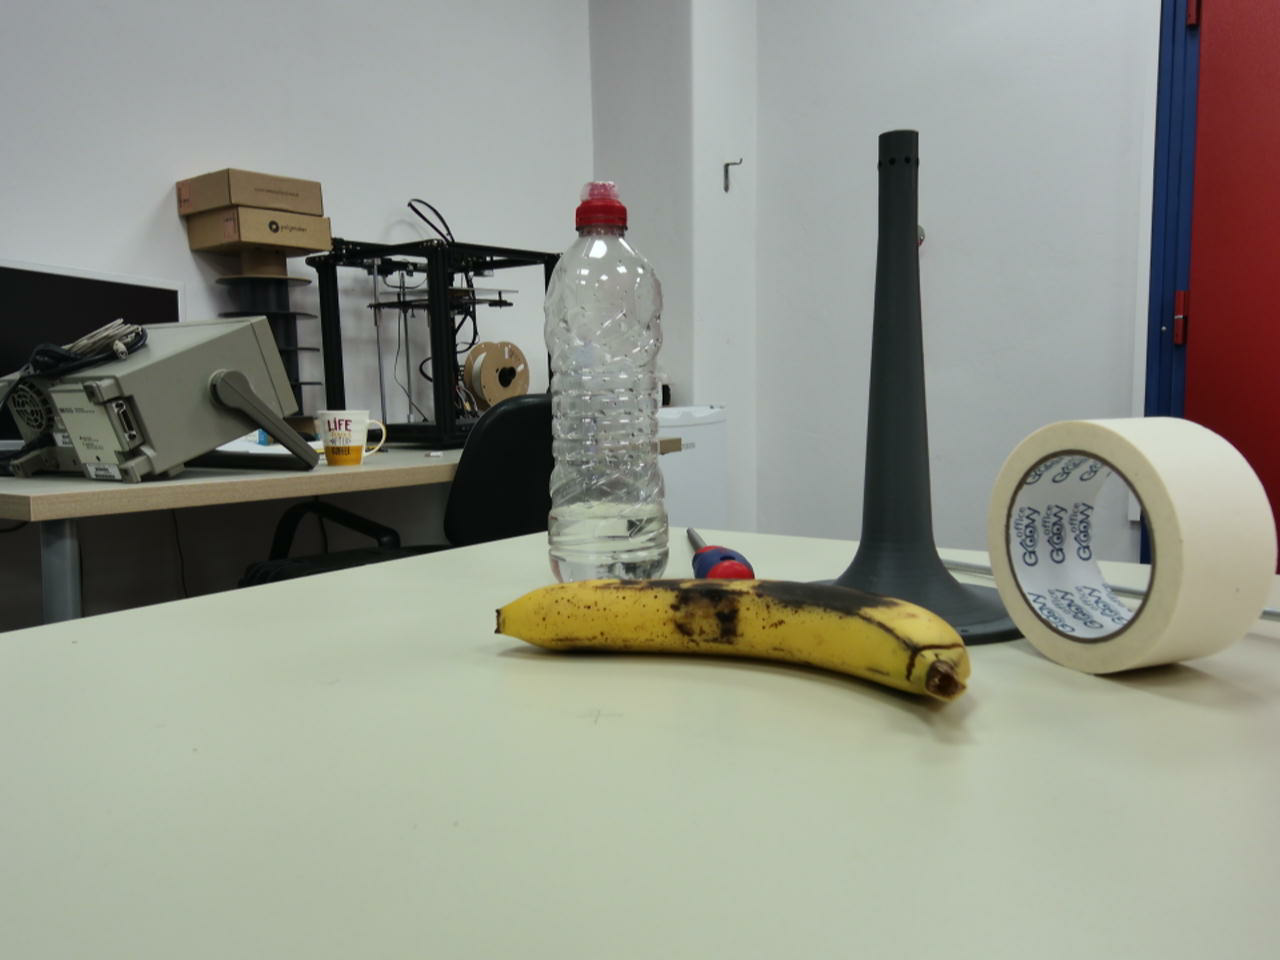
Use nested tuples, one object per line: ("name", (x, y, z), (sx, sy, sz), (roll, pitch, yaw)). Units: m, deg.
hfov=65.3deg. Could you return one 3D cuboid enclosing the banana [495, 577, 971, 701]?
("banana", (0.043, 0.064, 0.435), (0.222, 0.037, 0.084), (3, 4, 38))
